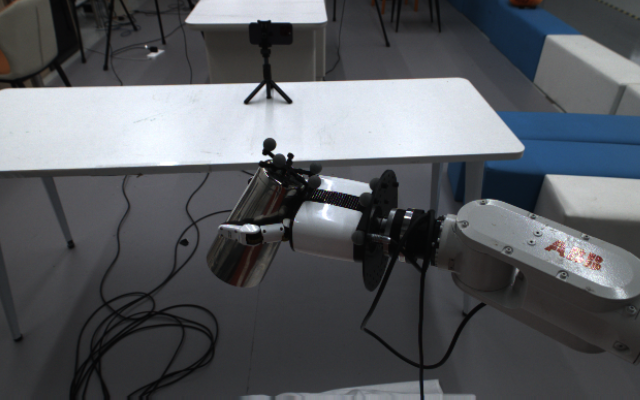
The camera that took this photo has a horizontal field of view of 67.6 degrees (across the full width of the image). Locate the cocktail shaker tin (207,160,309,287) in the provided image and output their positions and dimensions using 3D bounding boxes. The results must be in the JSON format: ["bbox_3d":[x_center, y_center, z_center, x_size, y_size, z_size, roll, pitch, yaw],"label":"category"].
[{"bbox_3d":[-0.085,0.027,0.679,0.093,0.170,0.093,25,29,-15],"label":"cocktail shaker tin"}]
